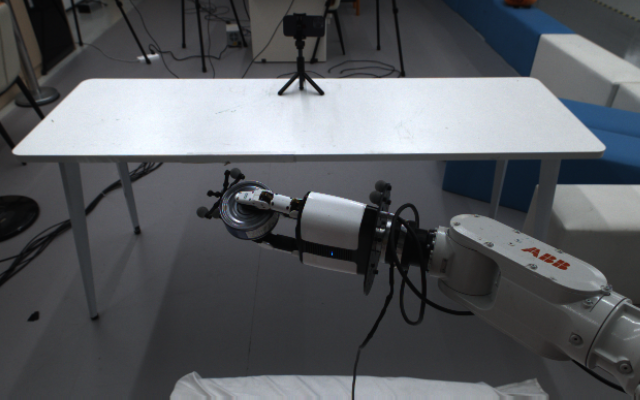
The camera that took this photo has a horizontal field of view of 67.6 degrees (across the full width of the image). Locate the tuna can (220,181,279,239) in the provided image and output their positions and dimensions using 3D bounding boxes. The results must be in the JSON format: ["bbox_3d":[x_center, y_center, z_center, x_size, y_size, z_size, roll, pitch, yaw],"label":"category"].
[{"bbox_3d":[-0.101,0.019,0.715,0.085,0.034,0.085,-1,62,2],"label":"tuna can"}]
